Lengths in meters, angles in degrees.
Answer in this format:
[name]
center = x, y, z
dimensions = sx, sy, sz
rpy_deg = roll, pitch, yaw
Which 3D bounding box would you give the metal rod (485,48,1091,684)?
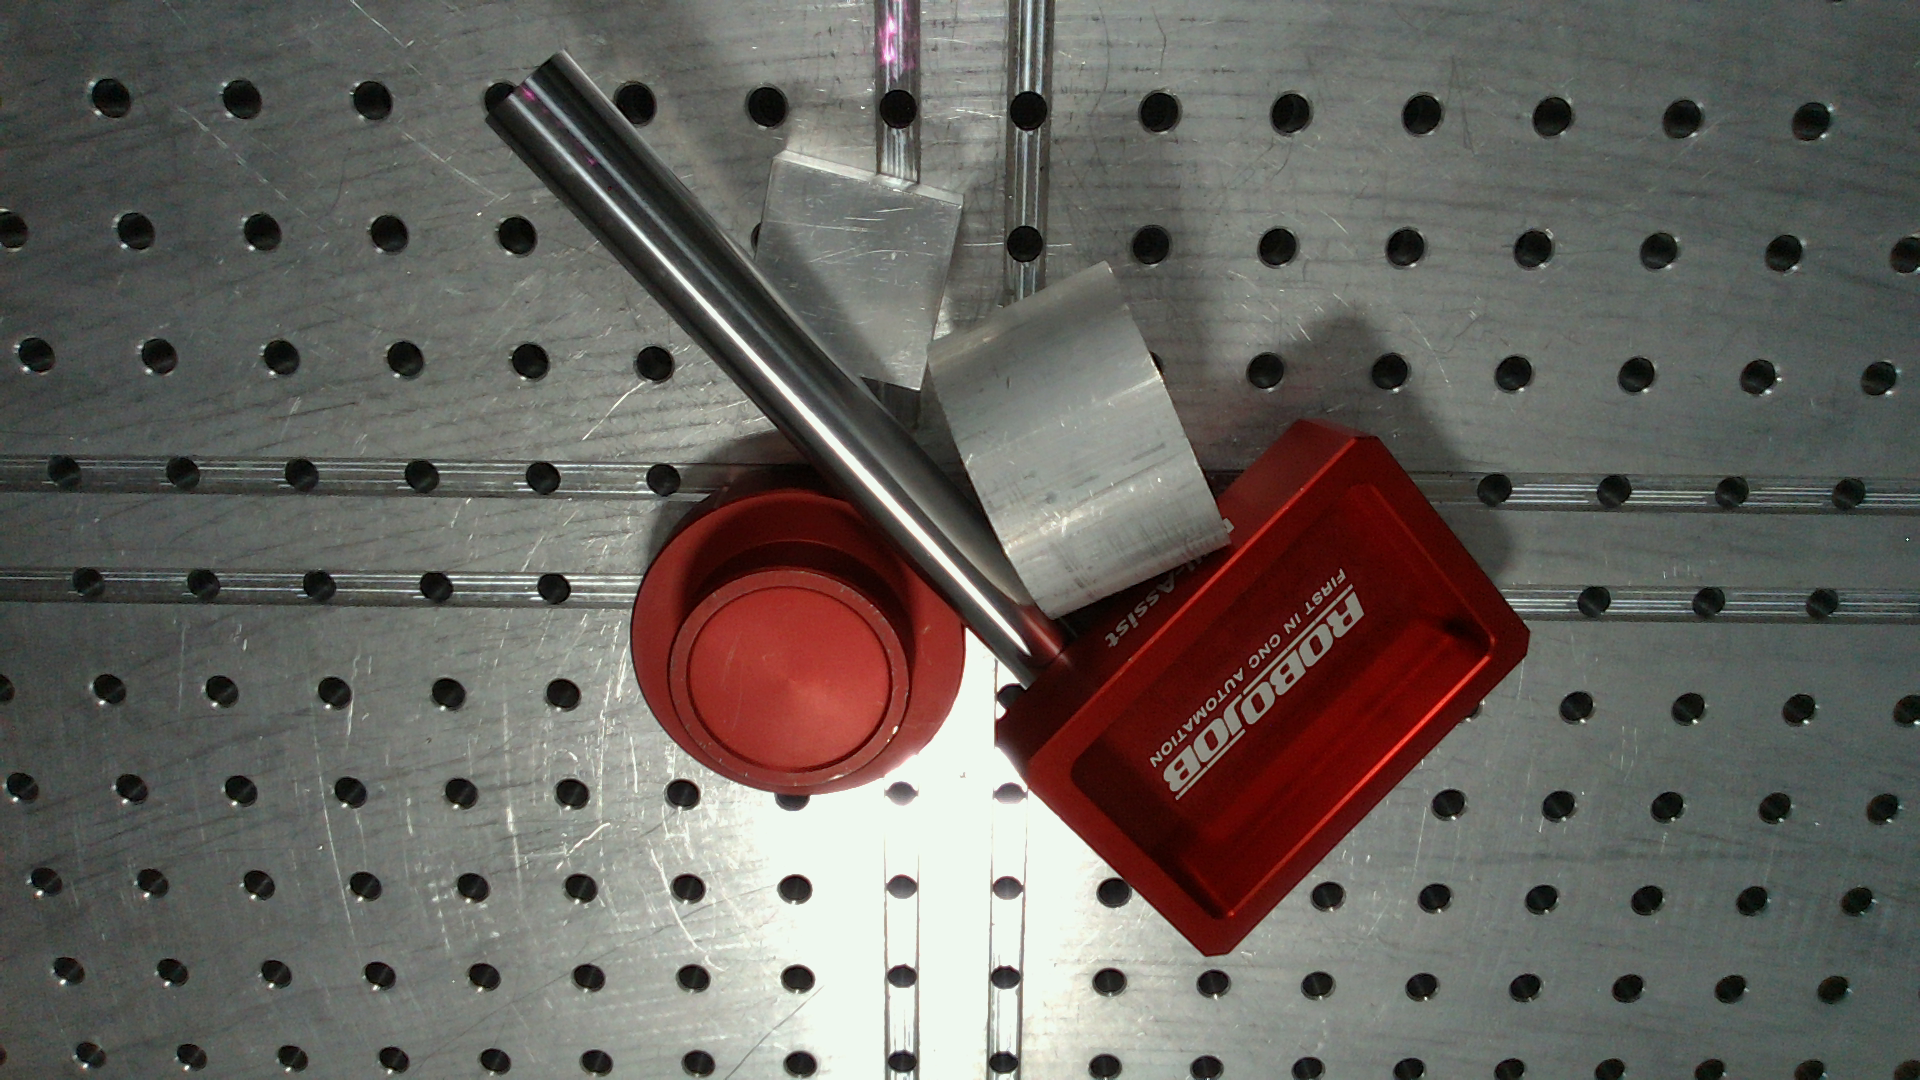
[metal rod]
center = -0.006, -0.005, 0.377
dimensions = 0.025, 0.025, 0.301
rpy_deg = -38, 114, 13

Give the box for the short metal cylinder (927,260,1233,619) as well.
[short metal cylinder]
center = 0.031, -0.026, 0.358
dimensions = 0.050, 0.080, 0.080
rpy_deg = -24, 109, 8

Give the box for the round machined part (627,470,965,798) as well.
[round machined part]
center = -0.047, 0.032, 0.398
dimensions = 0.098, 0.042, 0.098
rpy_deg = 0, 110, 0

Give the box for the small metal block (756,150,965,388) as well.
[small metal block]
center = -0.029, -0.073, 0.370
dimensions = 0.050, 0.025, 0.050
rpy_deg = 12, 110, -5

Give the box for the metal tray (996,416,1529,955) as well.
[metal tray]
center = 0.086, 0.041, 0.387
dimensions = 0.130, 0.030, 0.090
rpy_deg = -45, 112, -1
